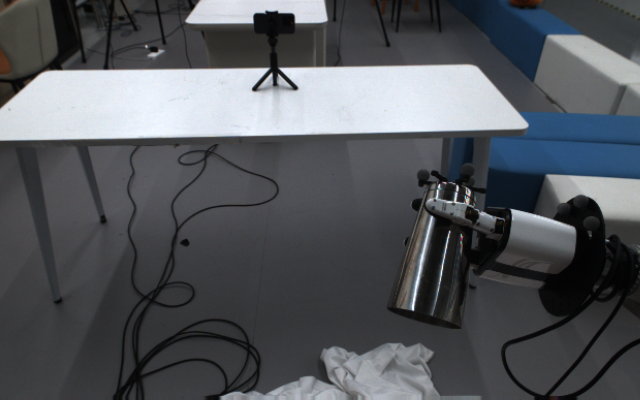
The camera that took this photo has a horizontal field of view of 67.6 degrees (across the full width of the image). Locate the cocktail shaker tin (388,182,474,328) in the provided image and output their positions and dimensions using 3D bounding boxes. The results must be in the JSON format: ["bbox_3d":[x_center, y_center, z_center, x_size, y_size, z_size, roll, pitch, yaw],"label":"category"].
[{"bbox_3d":[0.151,0.064,0.618,0.093,0.093,0.170,12,72,14],"label":"cocktail shaker tin"}]
